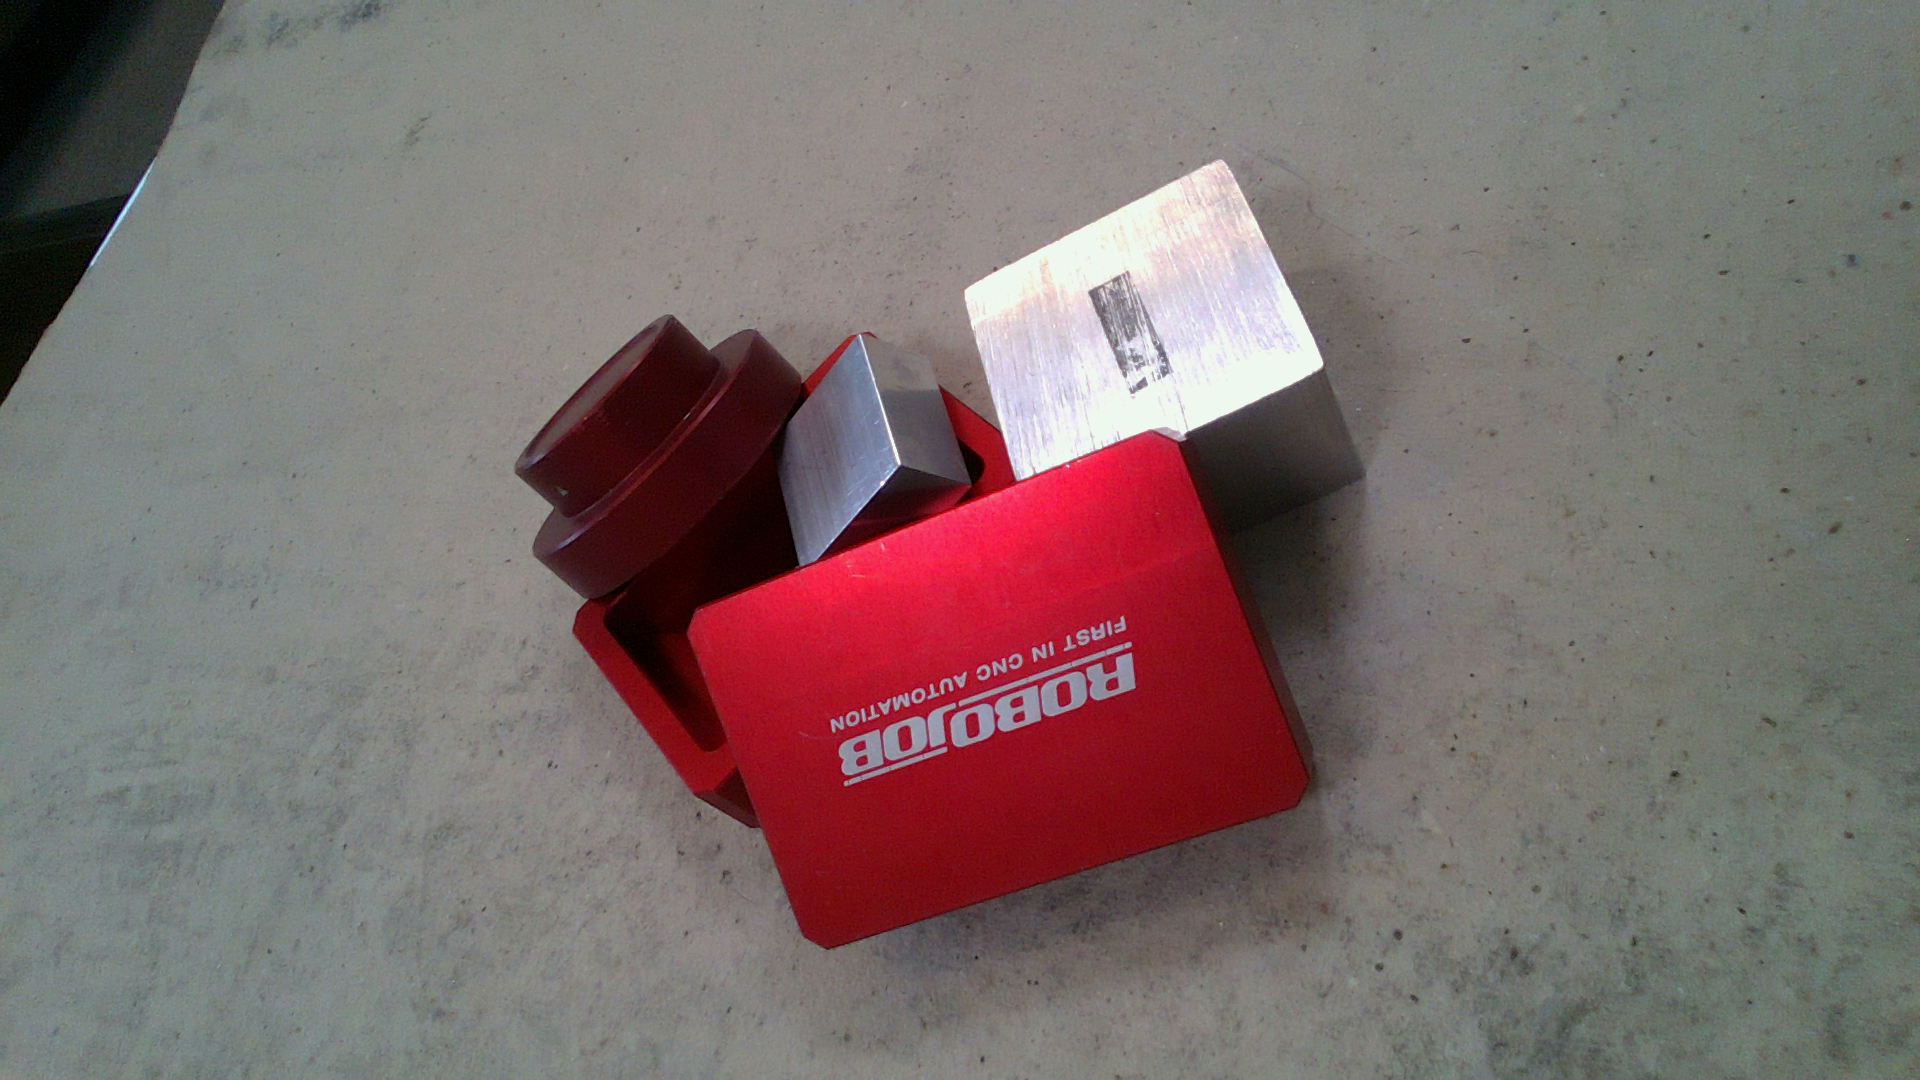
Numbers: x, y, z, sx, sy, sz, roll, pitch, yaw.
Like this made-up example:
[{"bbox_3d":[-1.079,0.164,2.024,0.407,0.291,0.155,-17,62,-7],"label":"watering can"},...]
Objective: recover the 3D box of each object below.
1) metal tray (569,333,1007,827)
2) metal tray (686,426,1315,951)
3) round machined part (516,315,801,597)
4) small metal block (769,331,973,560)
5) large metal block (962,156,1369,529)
[{"bbox_3d":[-0.045,0.008,0.409,0.130,0.030,0.090,-46,51,-4],"label":"metal tray"},{"bbox_3d":[0.009,0.036,0.333,0.130,0.030,0.090,-21,90,16],"label":"metal tray"},{"bbox_3d":[-0.099,-0.032,0.429,0.098,0.042,0.098,-37,21,18],"label":"round machined part"},{"bbox_3d":[-0.027,-0.022,0.392,0.050,0.025,0.050,-46,46,33],"label":"small metal block"},{"bbox_3d":[0.054,-0.044,0.376,0.080,0.050,0.080,-24,53,14],"label":"large metal block"}]
